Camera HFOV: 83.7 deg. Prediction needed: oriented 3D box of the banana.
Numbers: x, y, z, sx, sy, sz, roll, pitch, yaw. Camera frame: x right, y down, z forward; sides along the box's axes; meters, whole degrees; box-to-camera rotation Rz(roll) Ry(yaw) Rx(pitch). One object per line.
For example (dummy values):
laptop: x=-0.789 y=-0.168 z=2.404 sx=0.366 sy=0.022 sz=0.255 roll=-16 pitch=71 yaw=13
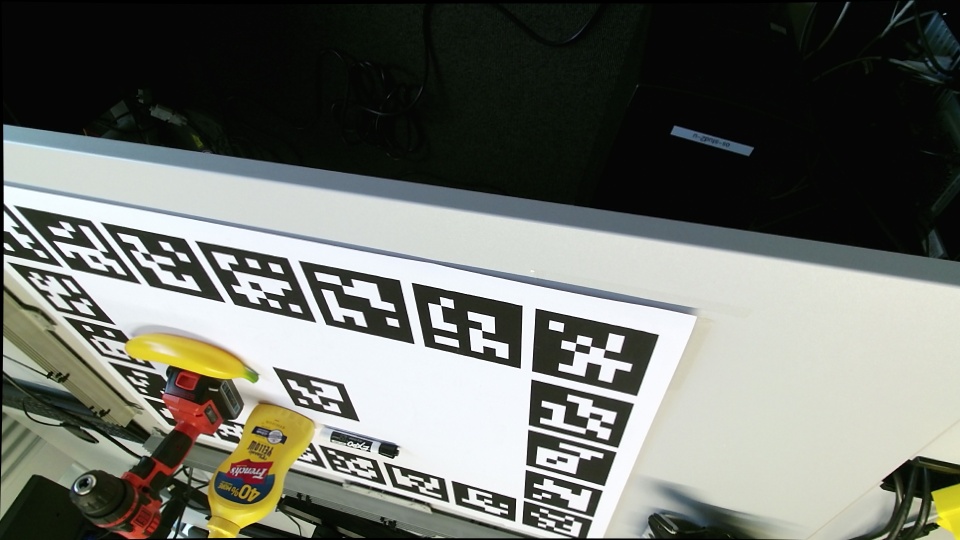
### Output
banana: x=-0.382 y=0.100 z=0.724 sx=0.198 sy=0.038 sz=0.074 roll=15 pitch=135 yaw=5

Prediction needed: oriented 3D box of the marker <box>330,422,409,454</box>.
marker: x=-0.164 y=0.251 z=0.796 sx=0.121 sy=0.019 sz=0.019 roll=12 pitch=135 yaw=10

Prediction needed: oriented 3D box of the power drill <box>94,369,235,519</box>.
power drill: x=-0.417 y=0.225 z=0.721 sx=0.057 sy=0.186 sz=0.185 roll=21 pitch=139 yaw=3

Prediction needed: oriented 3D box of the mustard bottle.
mustard bottle: x=-0.309 y=0.279 z=0.756 sx=0.096 sy=0.191 sz=0.058 roll=19 pitch=136 yaw=5
